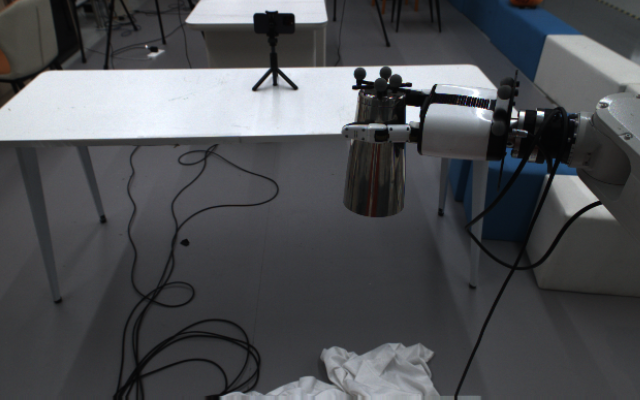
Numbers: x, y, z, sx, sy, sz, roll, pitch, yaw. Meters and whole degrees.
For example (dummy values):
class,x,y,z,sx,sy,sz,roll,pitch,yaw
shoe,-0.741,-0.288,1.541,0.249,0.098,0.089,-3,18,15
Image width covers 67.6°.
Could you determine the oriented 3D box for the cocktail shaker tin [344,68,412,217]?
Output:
class,x,y,z,sx,sy,sz,roll,pitch,yaw
cocktail shaker tin,0.085,-0.074,0.703,0.093,0.170,0.093,1,27,-1
